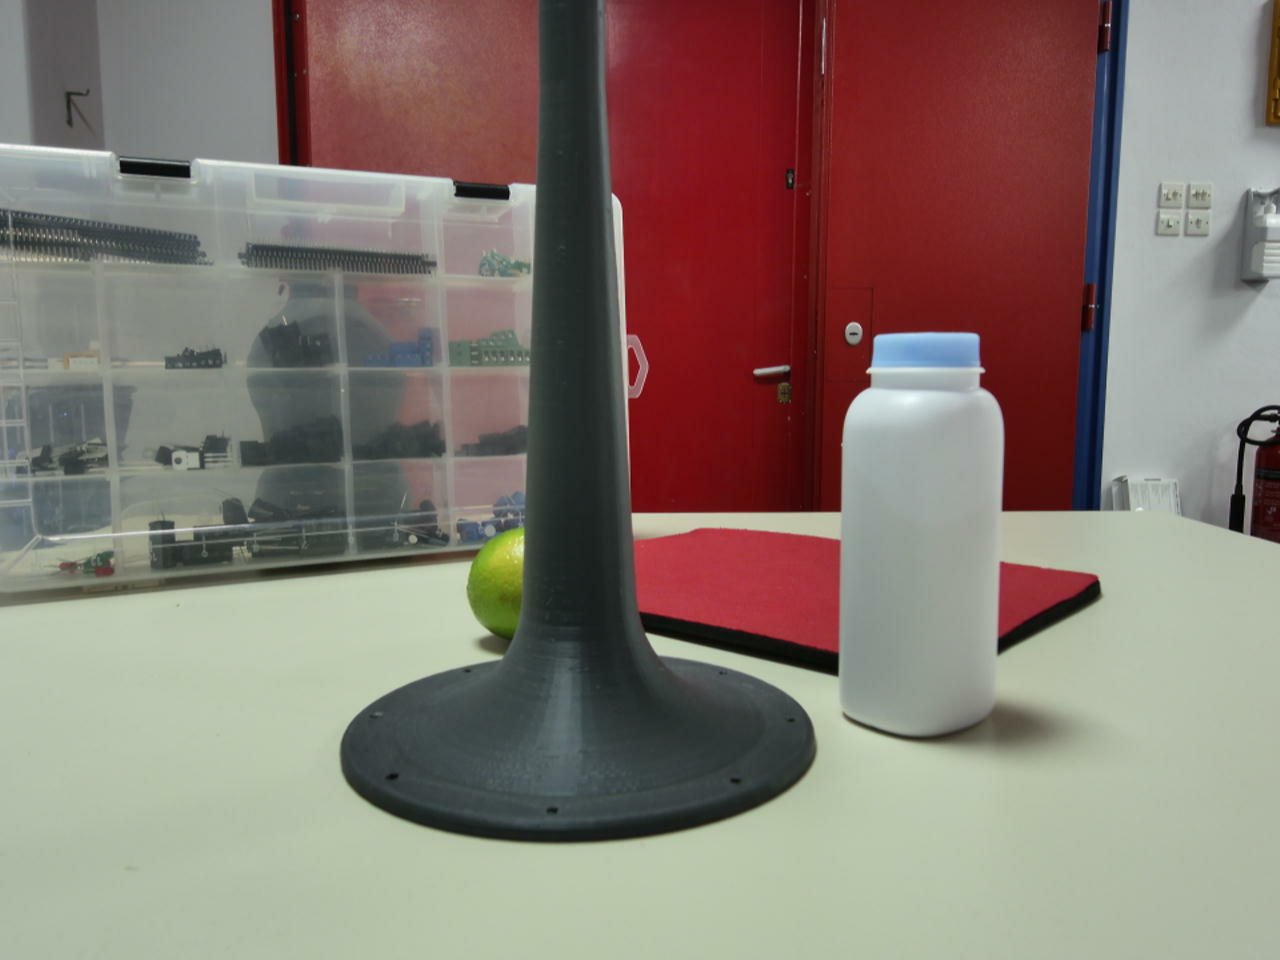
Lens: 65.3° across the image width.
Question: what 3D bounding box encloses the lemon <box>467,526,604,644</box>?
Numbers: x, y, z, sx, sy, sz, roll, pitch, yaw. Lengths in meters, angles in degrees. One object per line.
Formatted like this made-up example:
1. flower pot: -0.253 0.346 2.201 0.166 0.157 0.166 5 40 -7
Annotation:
1. lemon: -0.046 0.045 0.436 0.054 0.050 0.055 -5 6 -41
